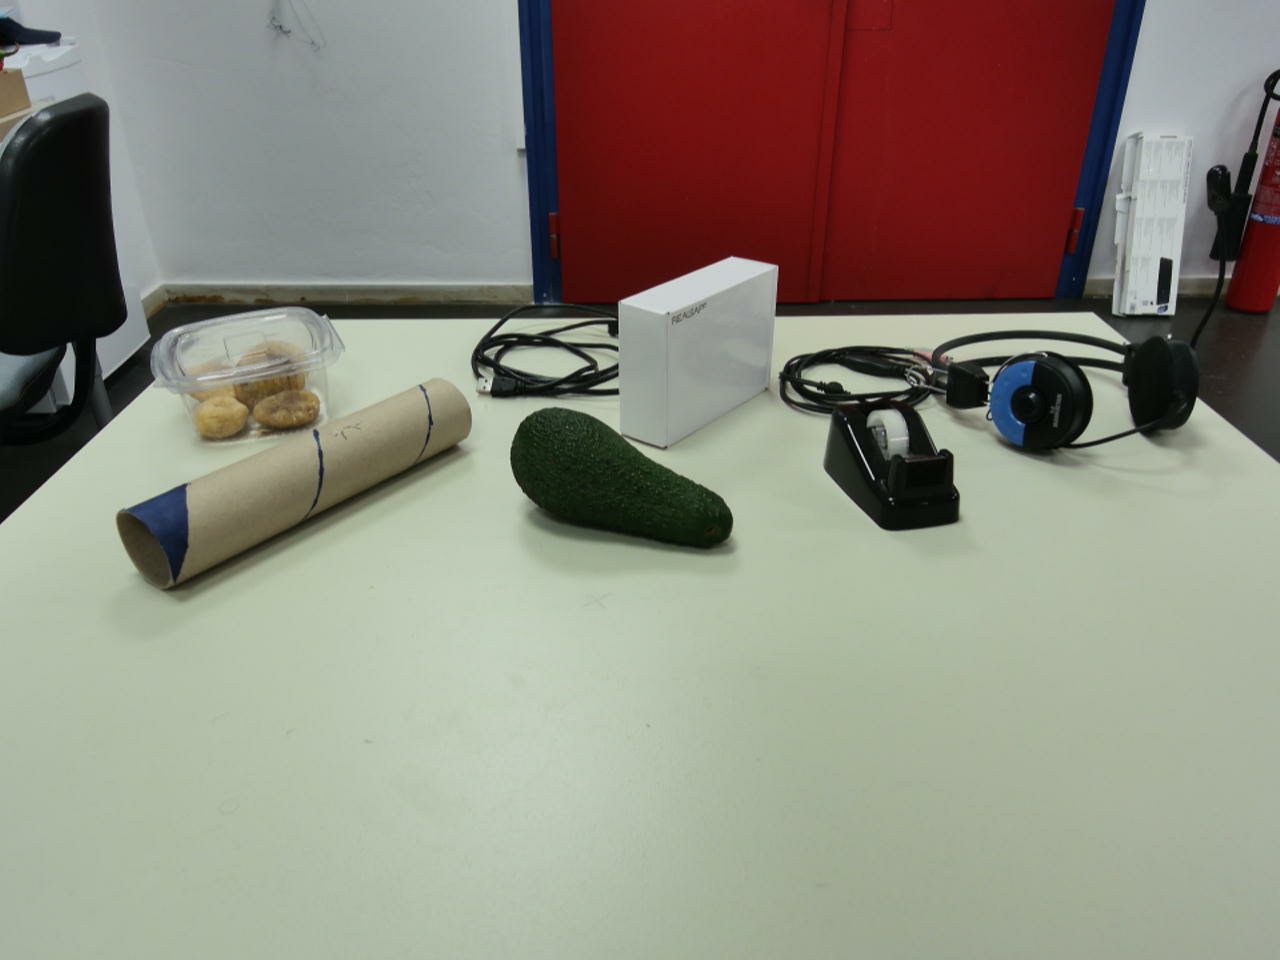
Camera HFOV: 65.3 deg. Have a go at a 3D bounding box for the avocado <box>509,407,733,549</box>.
[{"bbox_3d":[-0.010,-0.005,0.576,0.141,0.067,0.063,7,27,13],"label":"avocado"}]
